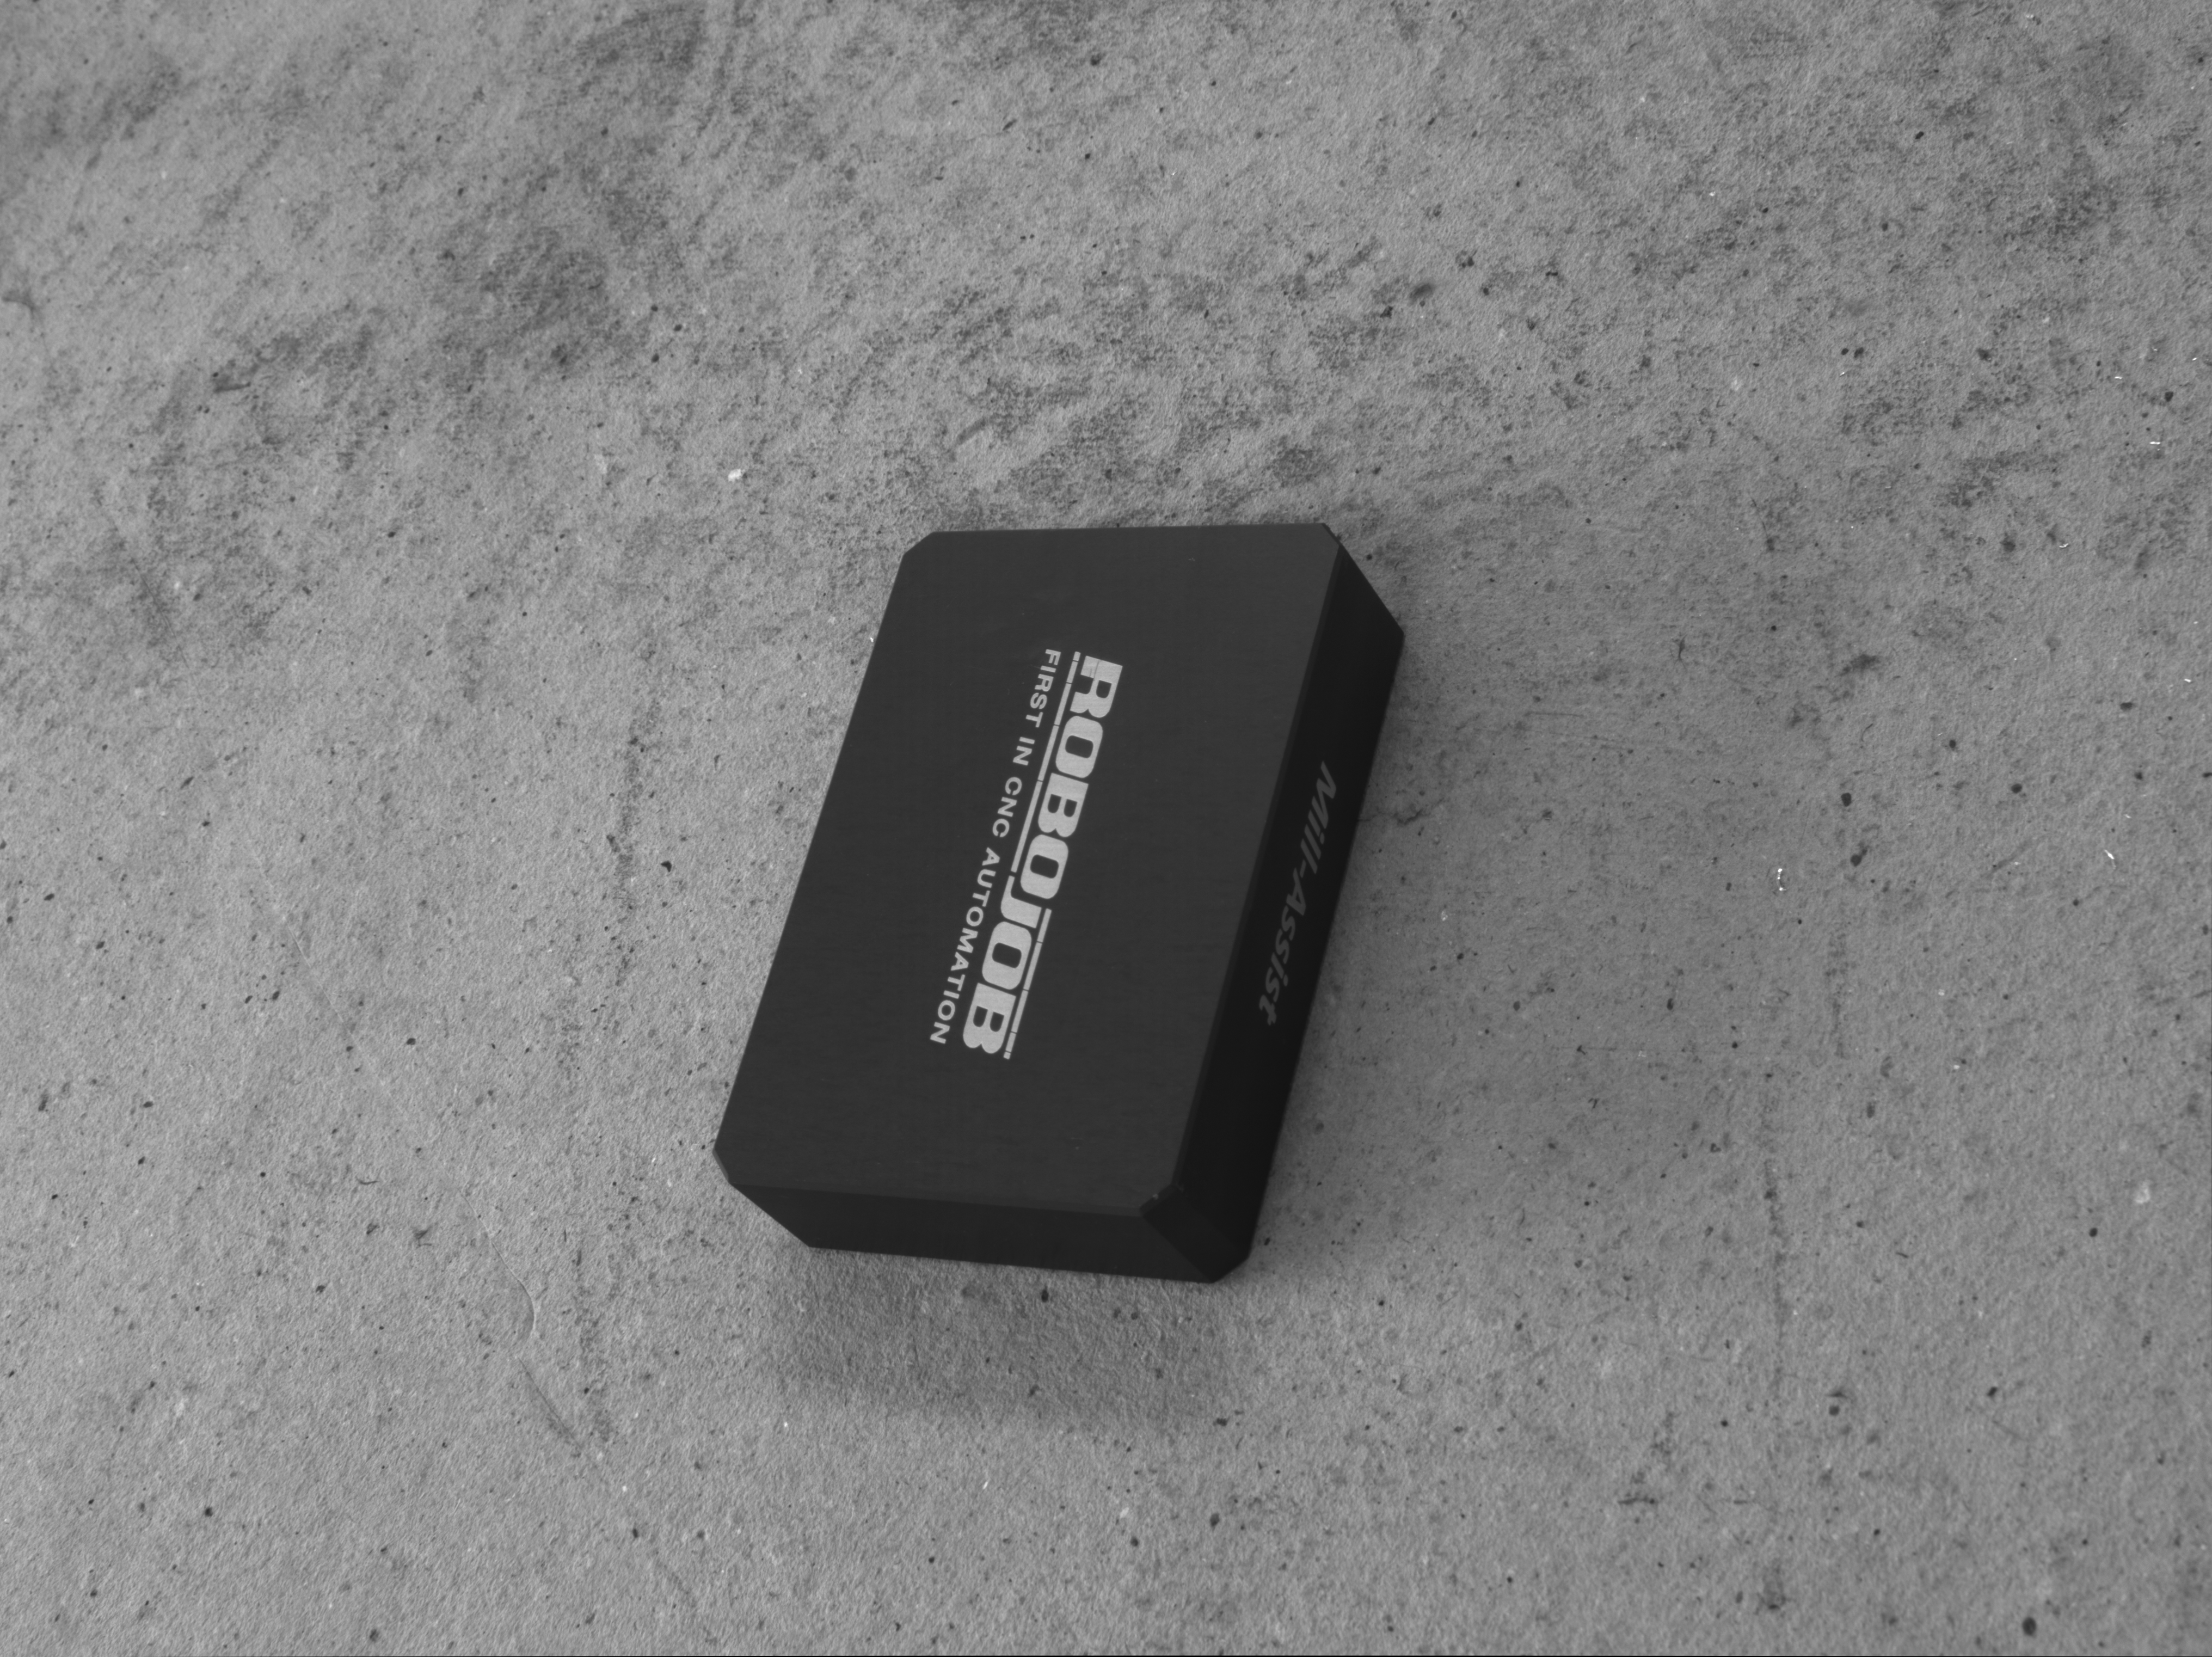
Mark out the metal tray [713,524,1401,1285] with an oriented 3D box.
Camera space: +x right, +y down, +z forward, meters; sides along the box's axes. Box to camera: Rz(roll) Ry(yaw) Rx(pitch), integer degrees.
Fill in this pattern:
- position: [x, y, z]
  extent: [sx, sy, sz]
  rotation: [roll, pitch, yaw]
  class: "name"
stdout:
- position: [-0.007, 0.011, 0.640]
  extent: [0.090, 0.030, 0.130]
  rotation: [1, 63, 29]
  class: "metal tray"
